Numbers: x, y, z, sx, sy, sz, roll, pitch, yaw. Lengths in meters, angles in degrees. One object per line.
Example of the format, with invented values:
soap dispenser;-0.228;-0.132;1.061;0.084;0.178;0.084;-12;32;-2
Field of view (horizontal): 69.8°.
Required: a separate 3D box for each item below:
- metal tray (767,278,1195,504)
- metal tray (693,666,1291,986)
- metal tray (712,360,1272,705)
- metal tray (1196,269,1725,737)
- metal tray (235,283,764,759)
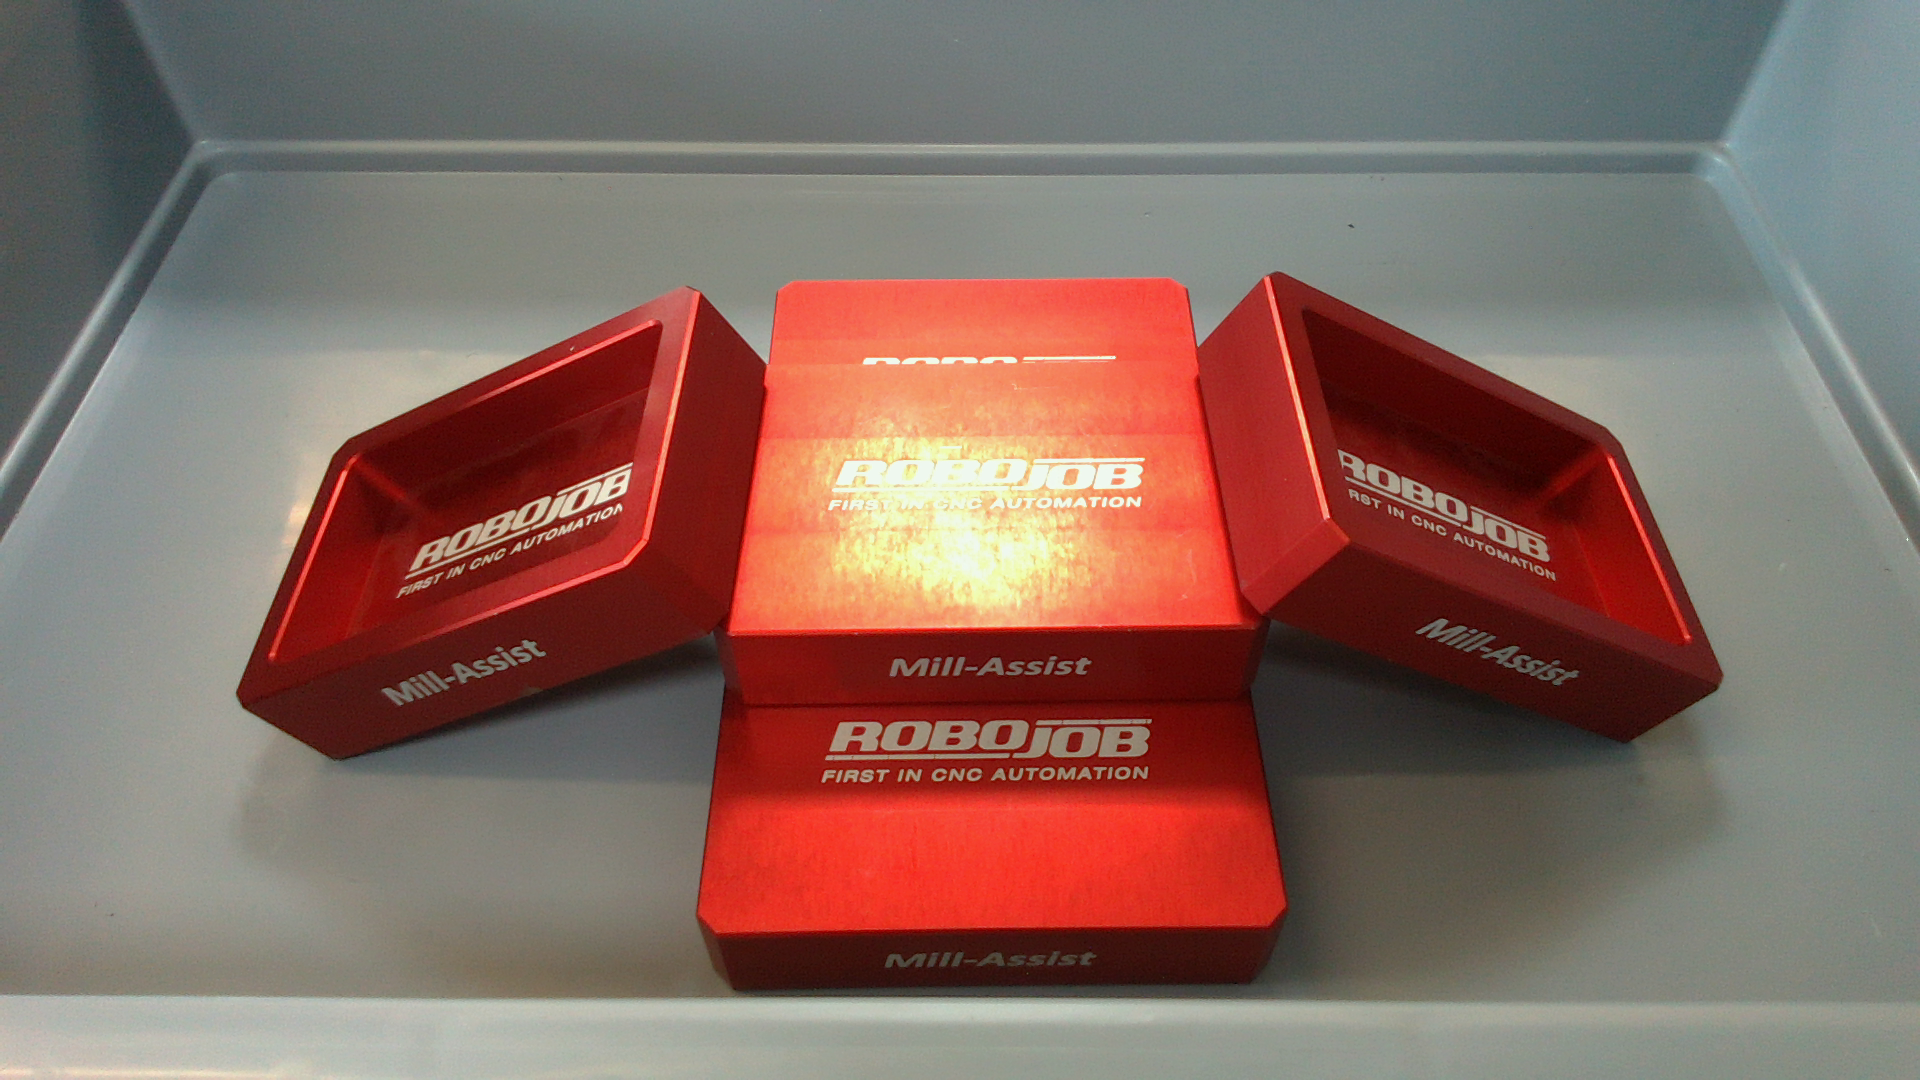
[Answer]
metal tray;0.007;-0.040;0.419;0.130;0.030;0.090;0;50;-1
metal tray;0.007;0.059;0.335;0.130;0.030;0.090;0;50;-1
metal tray;0.007;-0.004;0.351;0.130;0.030;0.090;-1;50;-1
metal tray;0.127;-0.009;0.353;0.130;0.030;0.090;18;46;-23
metal tray;-0.115;-0.004;0.350;0.130;0.030;0.090;-19;47;23
